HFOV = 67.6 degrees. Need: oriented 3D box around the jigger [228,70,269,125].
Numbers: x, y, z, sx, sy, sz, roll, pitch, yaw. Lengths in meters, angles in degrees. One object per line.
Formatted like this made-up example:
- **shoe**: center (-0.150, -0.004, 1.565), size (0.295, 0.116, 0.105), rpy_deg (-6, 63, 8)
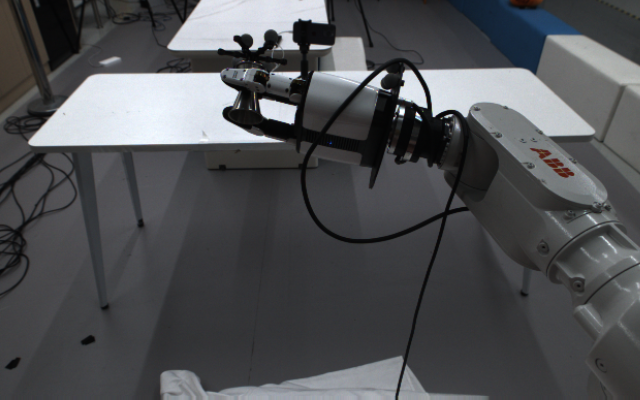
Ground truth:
- **jigger**: center (-0.092, -0.135, 0.613), size (0.043, 0.043, 0.071), rpy_deg (3, 75, 2)
